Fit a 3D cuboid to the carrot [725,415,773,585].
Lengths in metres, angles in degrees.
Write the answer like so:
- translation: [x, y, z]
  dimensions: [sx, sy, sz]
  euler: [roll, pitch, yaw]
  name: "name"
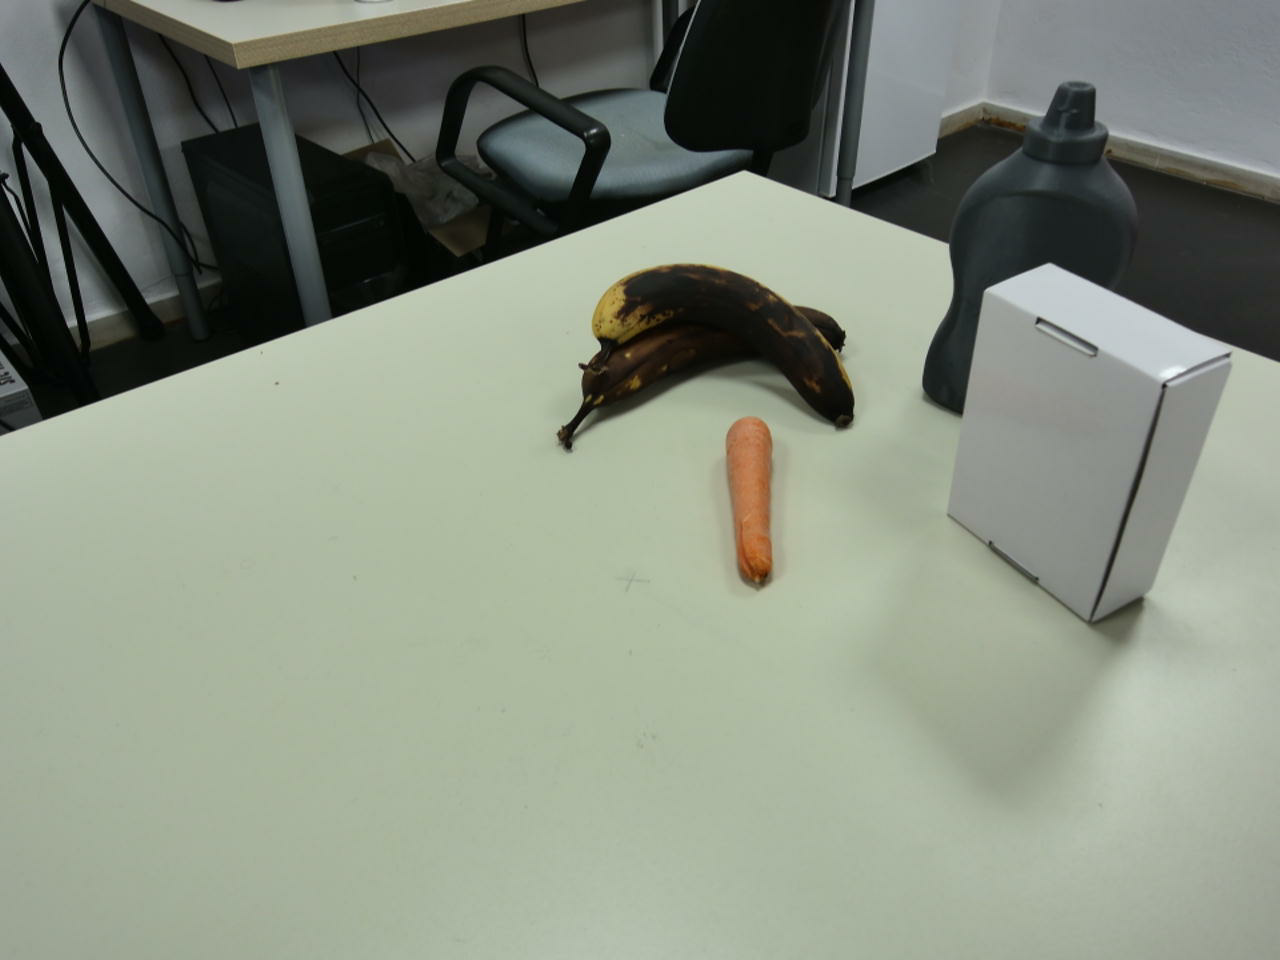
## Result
- translation: [0.064, 0.006, 0.577]
  dimensions: [0.030, 0.032, 0.136]
  euler: [1, 36, 4]
  name: "carrot"
